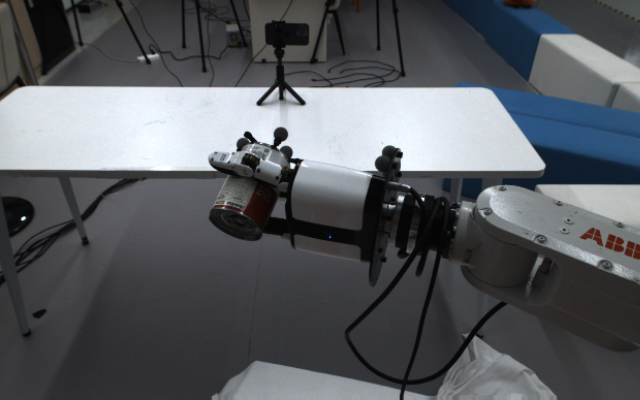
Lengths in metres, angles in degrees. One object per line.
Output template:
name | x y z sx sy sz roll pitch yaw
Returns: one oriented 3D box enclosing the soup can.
soup can | -0.083 -0.012 0.584 0.067 0.067 0.101 12 59 14
